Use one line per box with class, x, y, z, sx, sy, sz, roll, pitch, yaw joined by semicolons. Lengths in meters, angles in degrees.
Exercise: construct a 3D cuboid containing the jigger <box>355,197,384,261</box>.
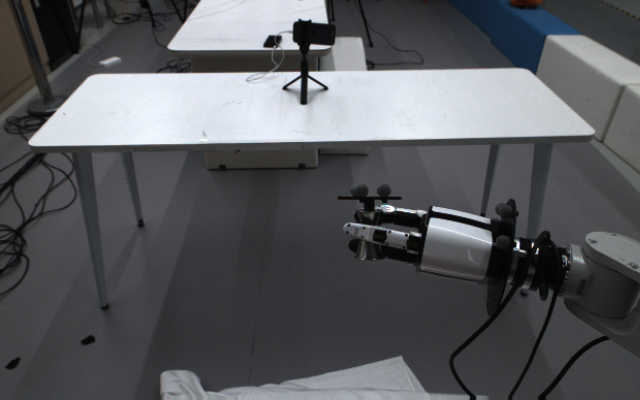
jigger;0.070;0.047;0.686;0.043;0.071;0.043;-1;2;0
